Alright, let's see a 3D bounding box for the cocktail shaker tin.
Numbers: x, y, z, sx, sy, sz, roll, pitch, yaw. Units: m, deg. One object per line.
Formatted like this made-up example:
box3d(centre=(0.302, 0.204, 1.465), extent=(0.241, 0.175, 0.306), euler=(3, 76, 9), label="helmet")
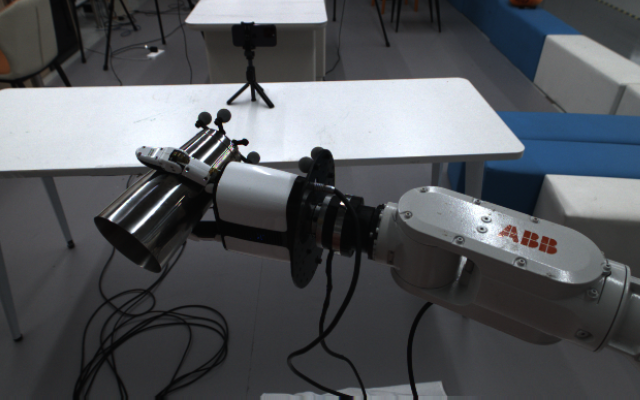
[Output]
box3d(centre=(-0.168, -0.010, 0.575), extent=(0.093, 0.093, 0.170), euler=(19, 54, 23), label="cocktail shaker tin")
